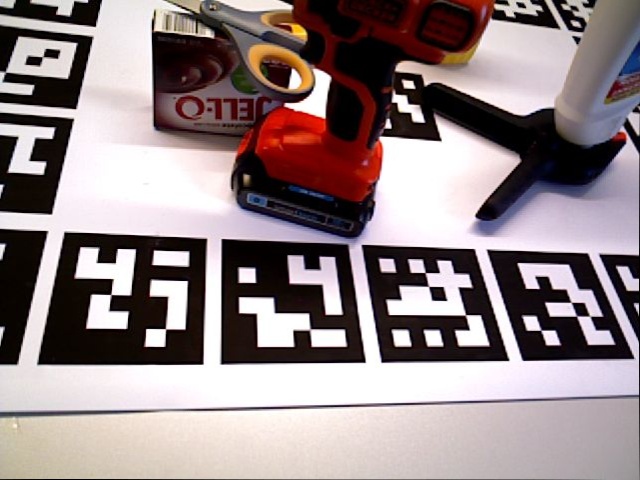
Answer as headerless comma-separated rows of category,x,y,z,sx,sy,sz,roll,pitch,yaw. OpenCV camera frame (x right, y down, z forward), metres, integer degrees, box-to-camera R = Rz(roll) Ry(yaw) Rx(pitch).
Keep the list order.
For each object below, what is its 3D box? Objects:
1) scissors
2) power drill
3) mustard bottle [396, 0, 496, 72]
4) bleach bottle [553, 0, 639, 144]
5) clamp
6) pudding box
scissors,-0.085,-0.181,0.399,0.202,0.016,0.086,26,58,-2
power drill,-0.009,-0.110,0.353,0.183,0.192,0.056,12,46,-3
mustard bottle,0.140,-0.263,0.538,0.095,0.196,0.057,15,52,-6
bleach bottle,0.268,-0.171,0.447,0.101,0.256,0.067,-17,57,-17
clamp,0.213,-0.099,0.516,0.200,0.037,0.163,-2,59,-18
pudding box,-0.091,-0.137,0.449,0.113,0.092,0.038,7,47,-11
